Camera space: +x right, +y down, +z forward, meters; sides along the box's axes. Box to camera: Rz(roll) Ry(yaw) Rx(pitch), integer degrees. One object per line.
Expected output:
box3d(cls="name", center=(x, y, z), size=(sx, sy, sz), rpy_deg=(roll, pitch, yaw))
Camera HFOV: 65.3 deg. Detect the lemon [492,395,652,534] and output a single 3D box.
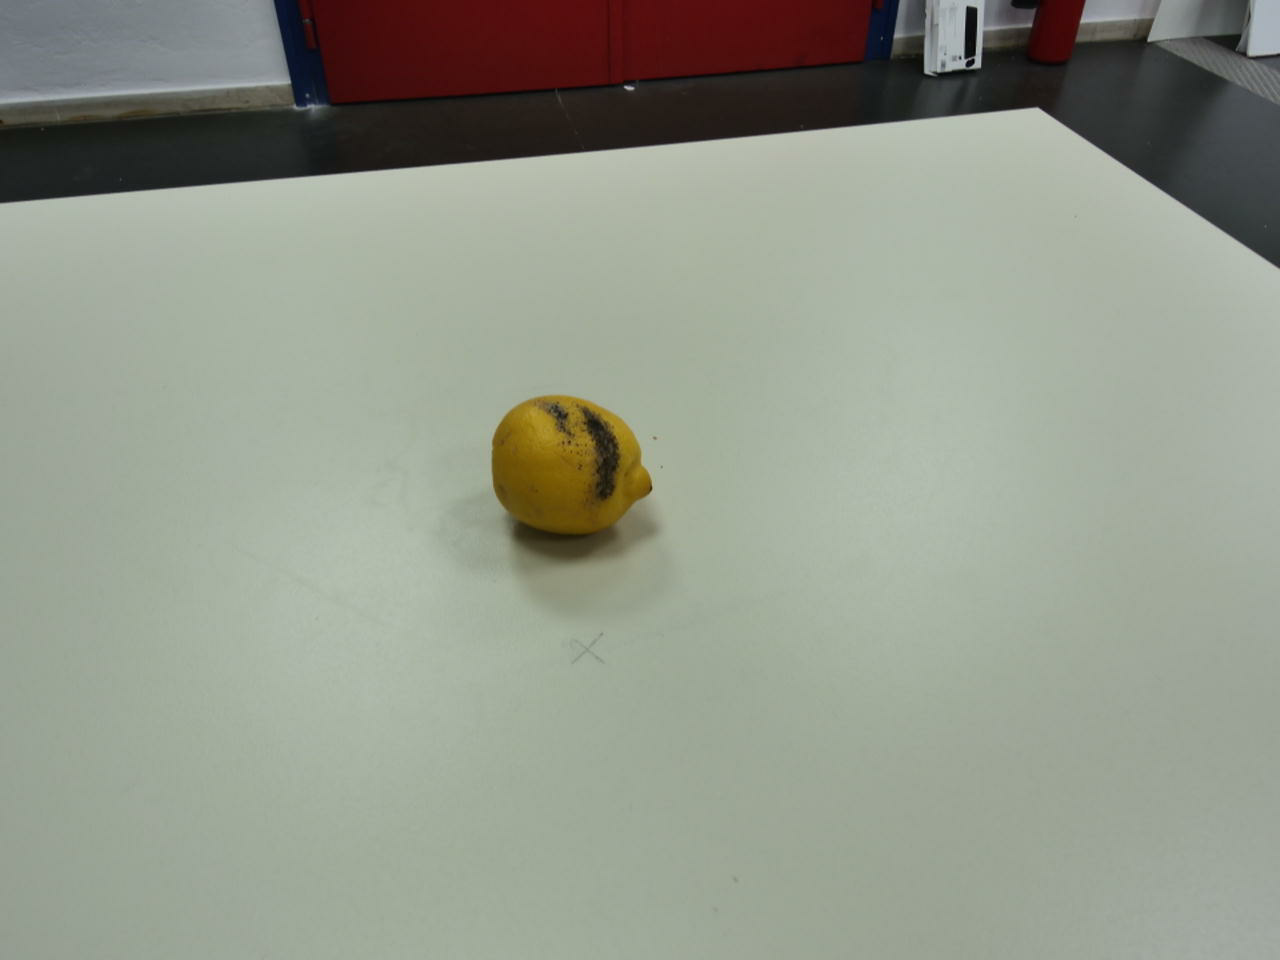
box3d(cls="lemon", center=(-0.030, -0.006, 0.408), size=(0.061, 0.056, 0.058), rpy_deg=(-14, 40, -17))
